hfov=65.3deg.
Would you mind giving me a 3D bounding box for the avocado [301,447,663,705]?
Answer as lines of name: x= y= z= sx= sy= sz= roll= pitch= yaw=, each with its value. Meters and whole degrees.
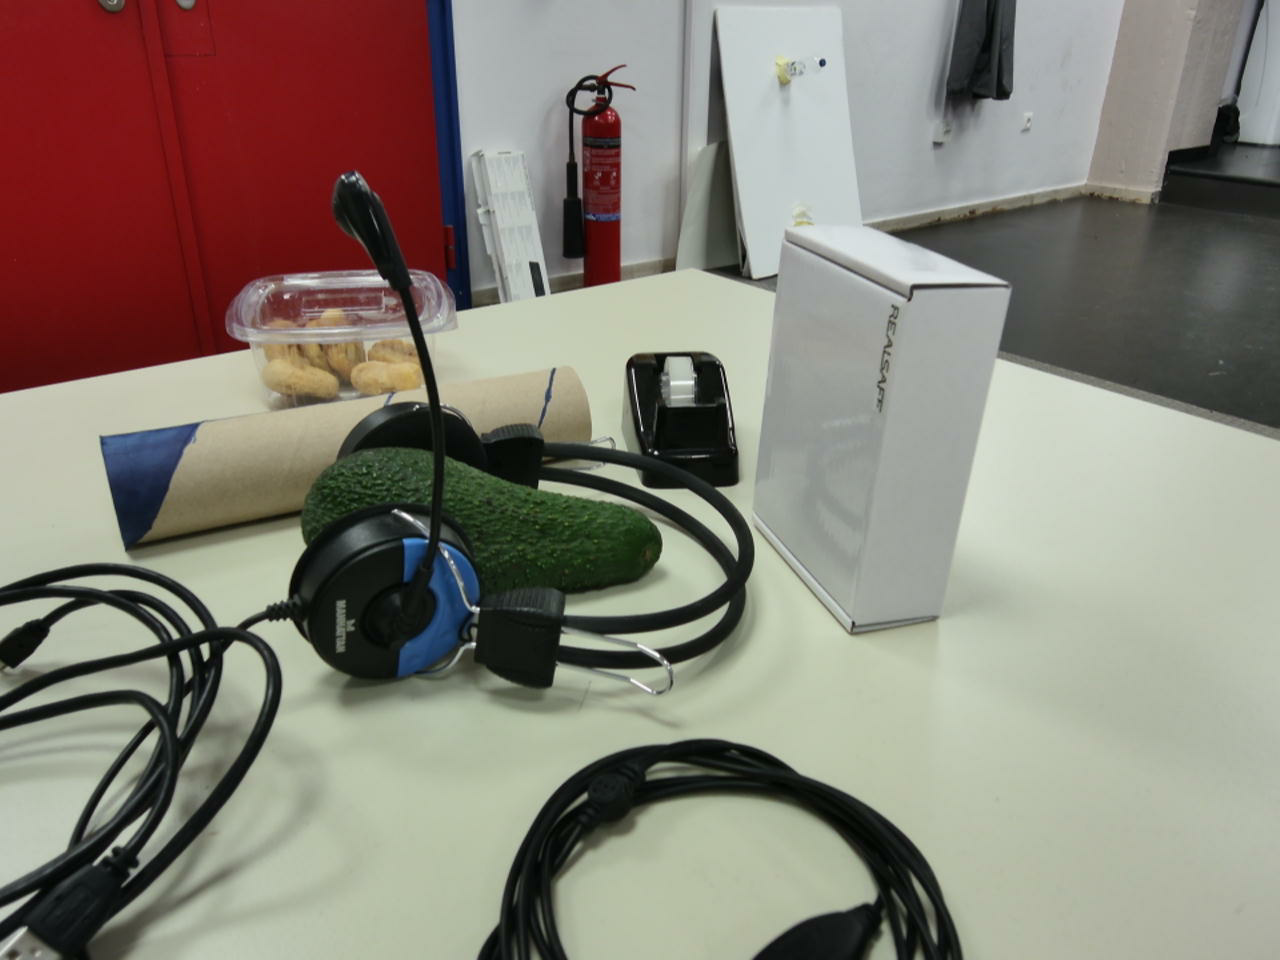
avocado: x=-0.060 y=0.014 z=0.399 sx=0.141 sy=0.067 sz=0.063 roll=-10 pitch=25 yaw=-22
